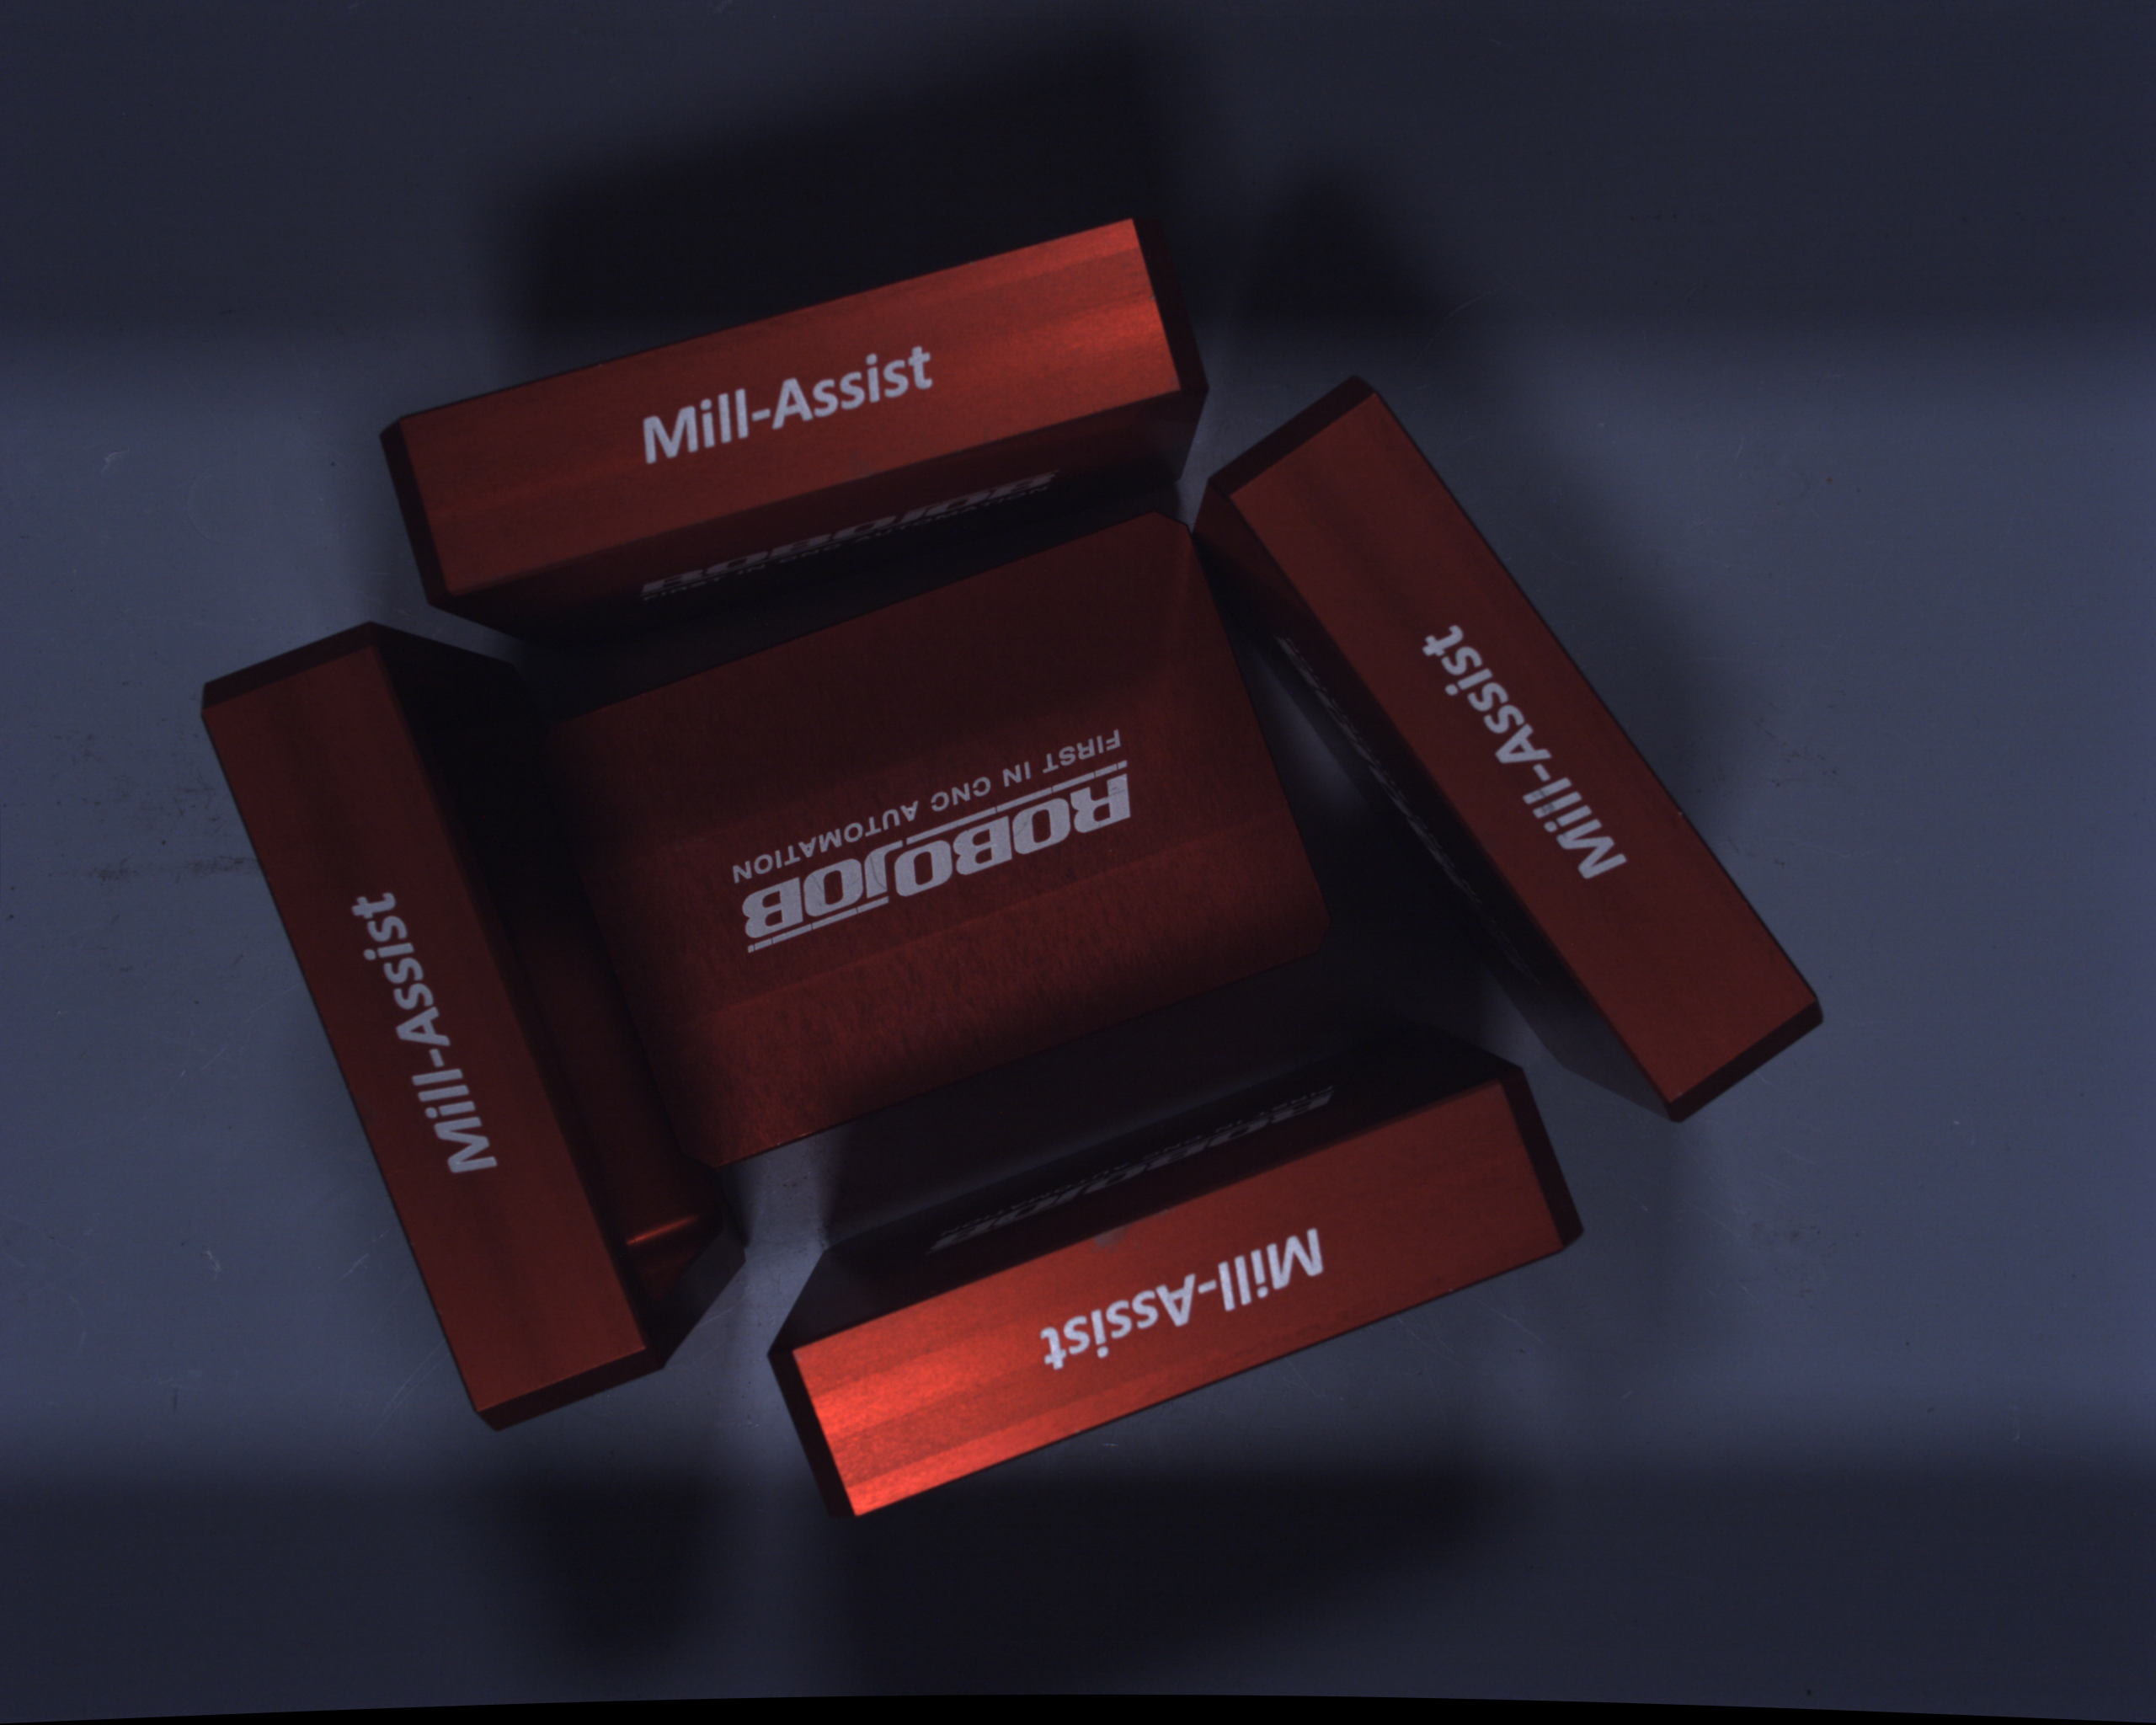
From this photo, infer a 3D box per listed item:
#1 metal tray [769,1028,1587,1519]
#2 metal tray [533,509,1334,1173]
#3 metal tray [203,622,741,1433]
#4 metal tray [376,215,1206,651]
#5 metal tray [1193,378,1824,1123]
[{"bbox_3d":[0.016,0.069,0.377,0.131,0.090,0.030,-20,90,-1],"label":"metal tray"},{"bbox_3d":[-0.027,-0.004,0.406,0.131,0.030,0.090,-20,90,-1],"label":"metal tray"},{"bbox_3d":[-0.104,0.026,0.375,0.030,0.090,0.129,-21,90,0],"label":"metal tray"},{"bbox_3d":[-0.046,-0.073,0.376,0.131,0.090,0.030,-16,90,-1],"label":"metal tray"},{"bbox_3d":[0.072,-0.019,0.378,0.030,0.090,0.130,-36,90,1],"label":"metal tray"}]
